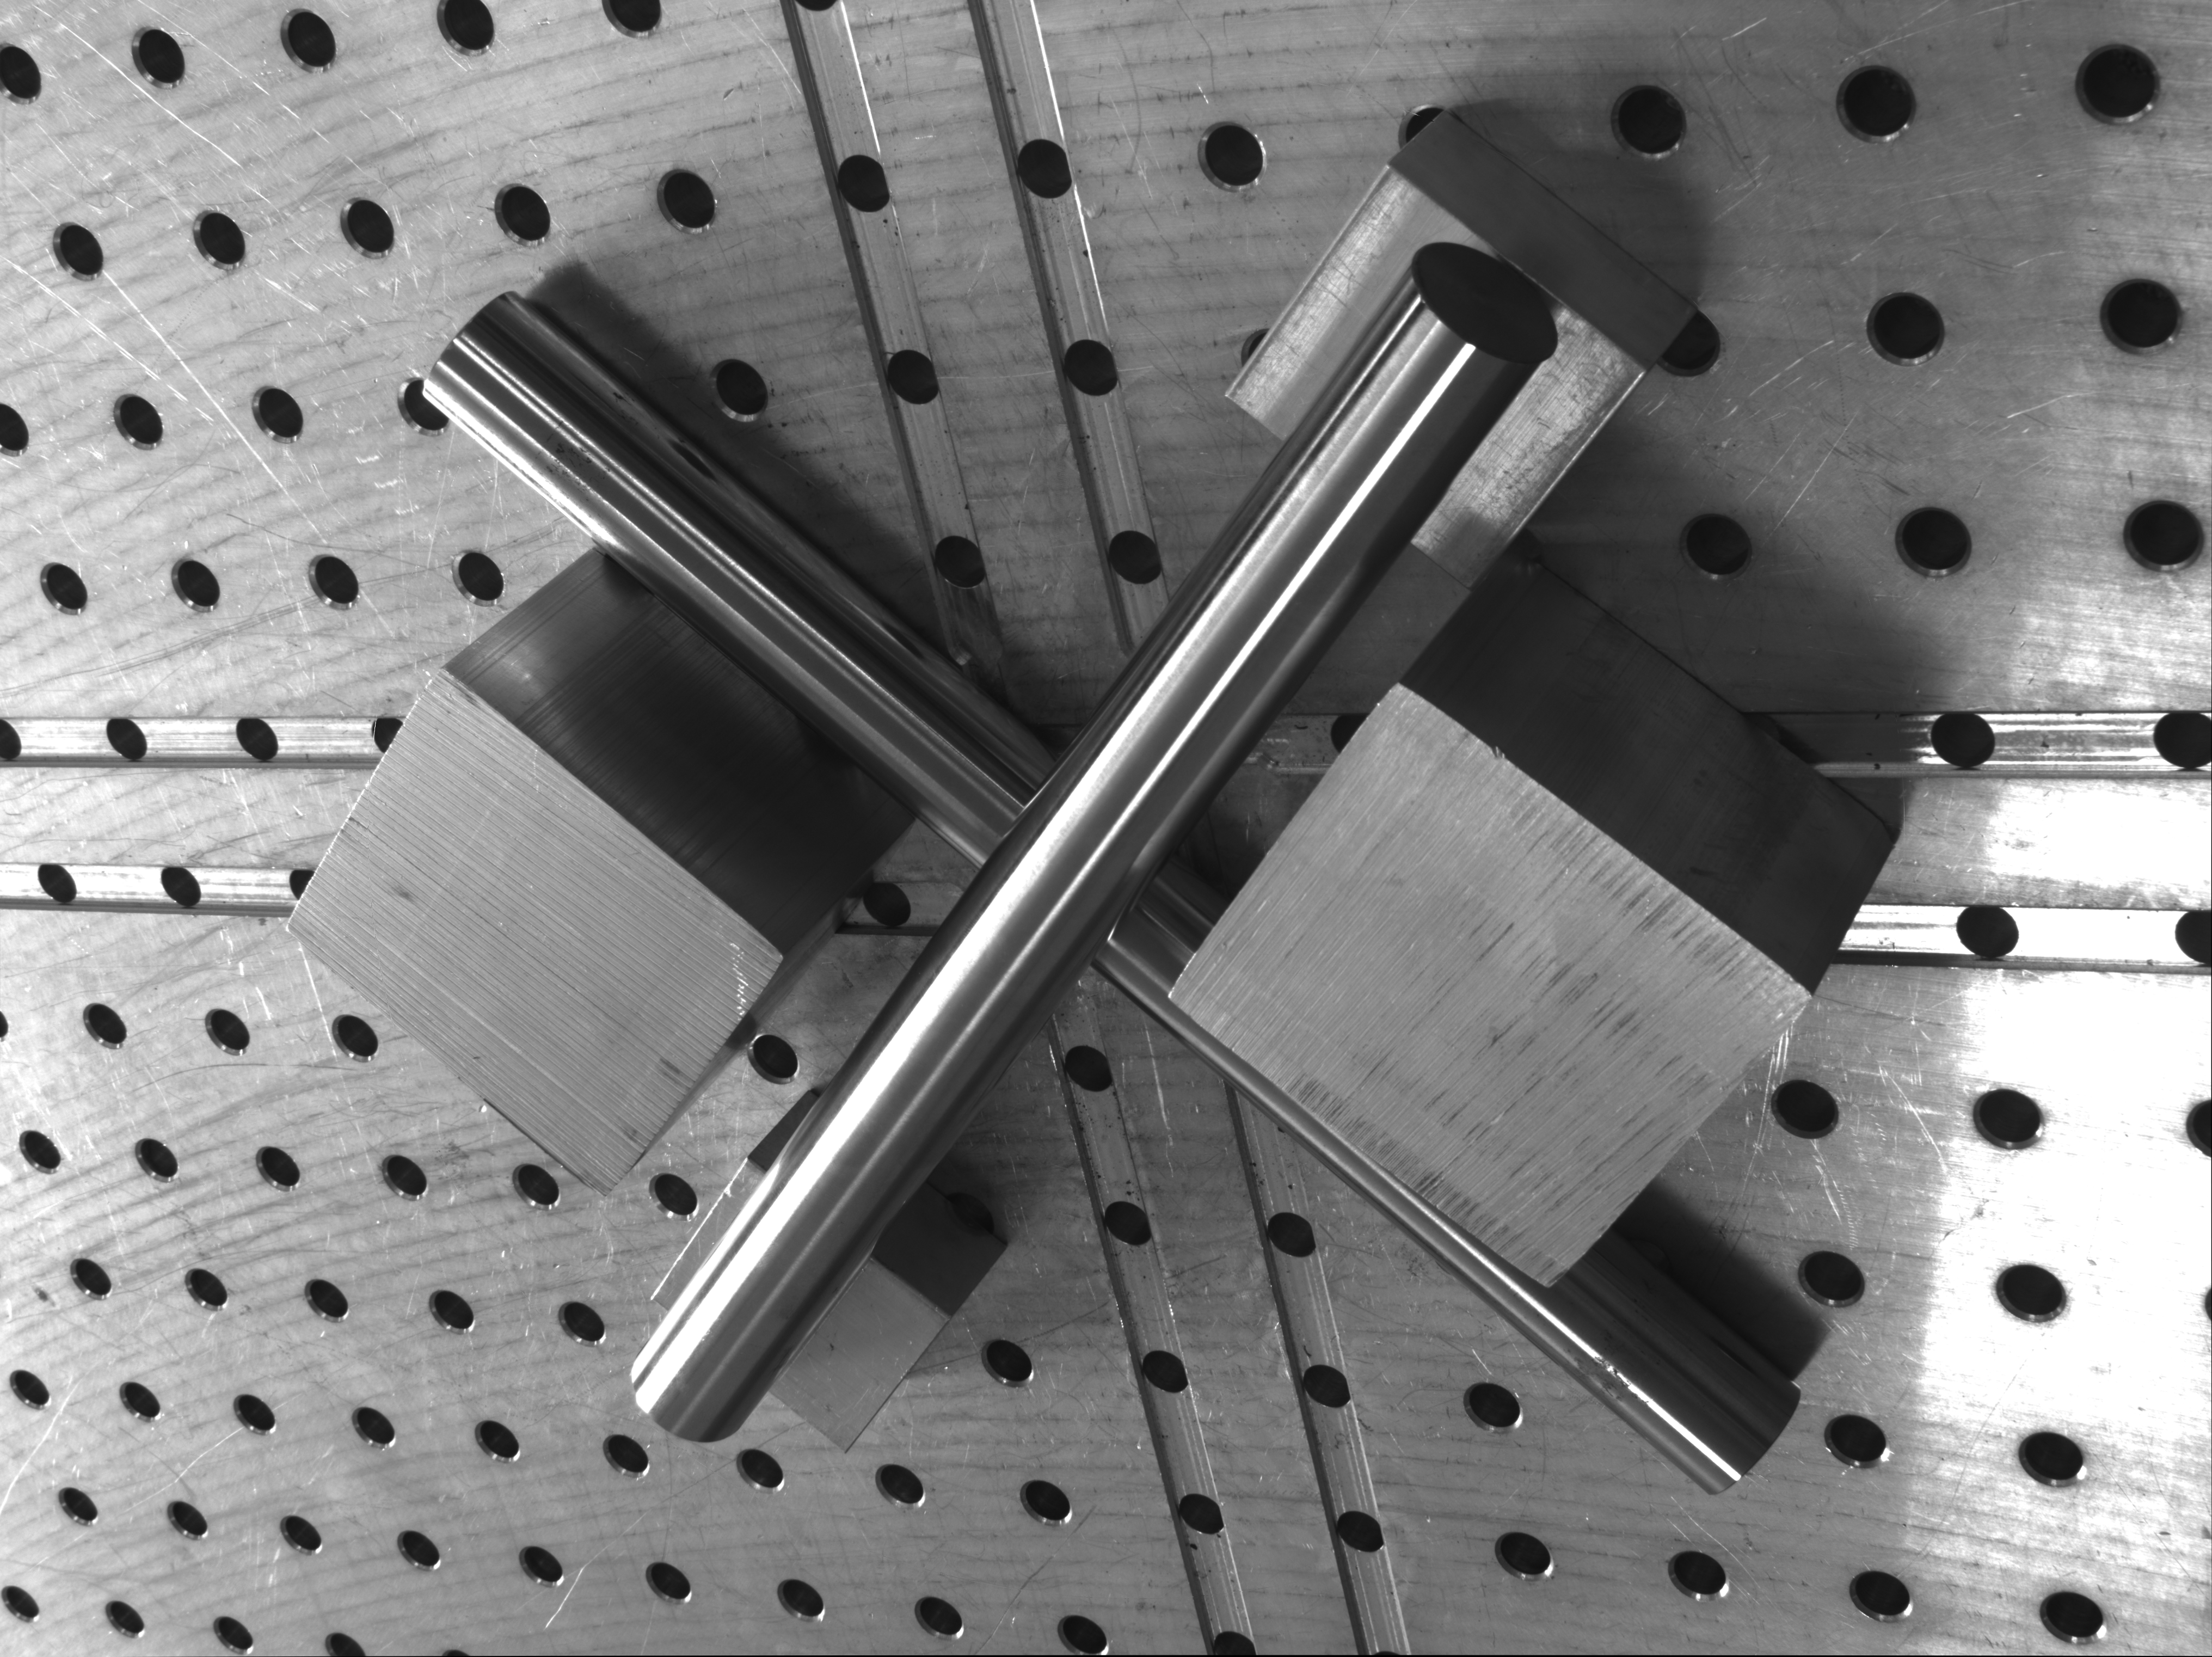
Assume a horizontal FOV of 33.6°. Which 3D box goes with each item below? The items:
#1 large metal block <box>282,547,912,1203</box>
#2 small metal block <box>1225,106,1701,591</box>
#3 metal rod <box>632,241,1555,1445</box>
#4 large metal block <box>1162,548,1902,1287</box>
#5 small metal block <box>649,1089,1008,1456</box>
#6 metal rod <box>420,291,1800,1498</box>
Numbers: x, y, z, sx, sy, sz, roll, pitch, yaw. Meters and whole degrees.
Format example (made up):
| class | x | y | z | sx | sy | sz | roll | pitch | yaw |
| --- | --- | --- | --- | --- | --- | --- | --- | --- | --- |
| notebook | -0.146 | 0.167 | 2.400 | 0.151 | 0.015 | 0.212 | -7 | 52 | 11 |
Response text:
| class | x | y | z | sx | sy | sz | roll | pitch | yaw |
| --- | --- | --- | --- | --- | --- | --- | --- | --- | --- |
| large metal block | -0.095 | 0.009 | 0.686 | 0.080 | 0.050 | 0.080 | 40 | 129 | 1 |
| small metal block | 0.055 | -0.074 | 0.571 | 0.050 | 0.025 | 0.050 | 39 | 129 | 2 |
| metal rod | -0.013 | 0.017 | 0.630 | 0.025 | 0.025 | 0.299 | 38 | 129 | 3 |
| large metal block | 0.069 | 0.014 | 0.601 | 0.080 | 0.050 | 0.080 | 37 | 129 | 4 |
| small metal block | -0.055 | 0.088 | 0.729 | 0.050 | 0.025 | 0.050 | 38 | 129 | 3 |
| metal rod | 0.000 | 0.011 | 0.651 | 0.300 | 0.025 | 0.025 | 40 | 129 | 1 |
